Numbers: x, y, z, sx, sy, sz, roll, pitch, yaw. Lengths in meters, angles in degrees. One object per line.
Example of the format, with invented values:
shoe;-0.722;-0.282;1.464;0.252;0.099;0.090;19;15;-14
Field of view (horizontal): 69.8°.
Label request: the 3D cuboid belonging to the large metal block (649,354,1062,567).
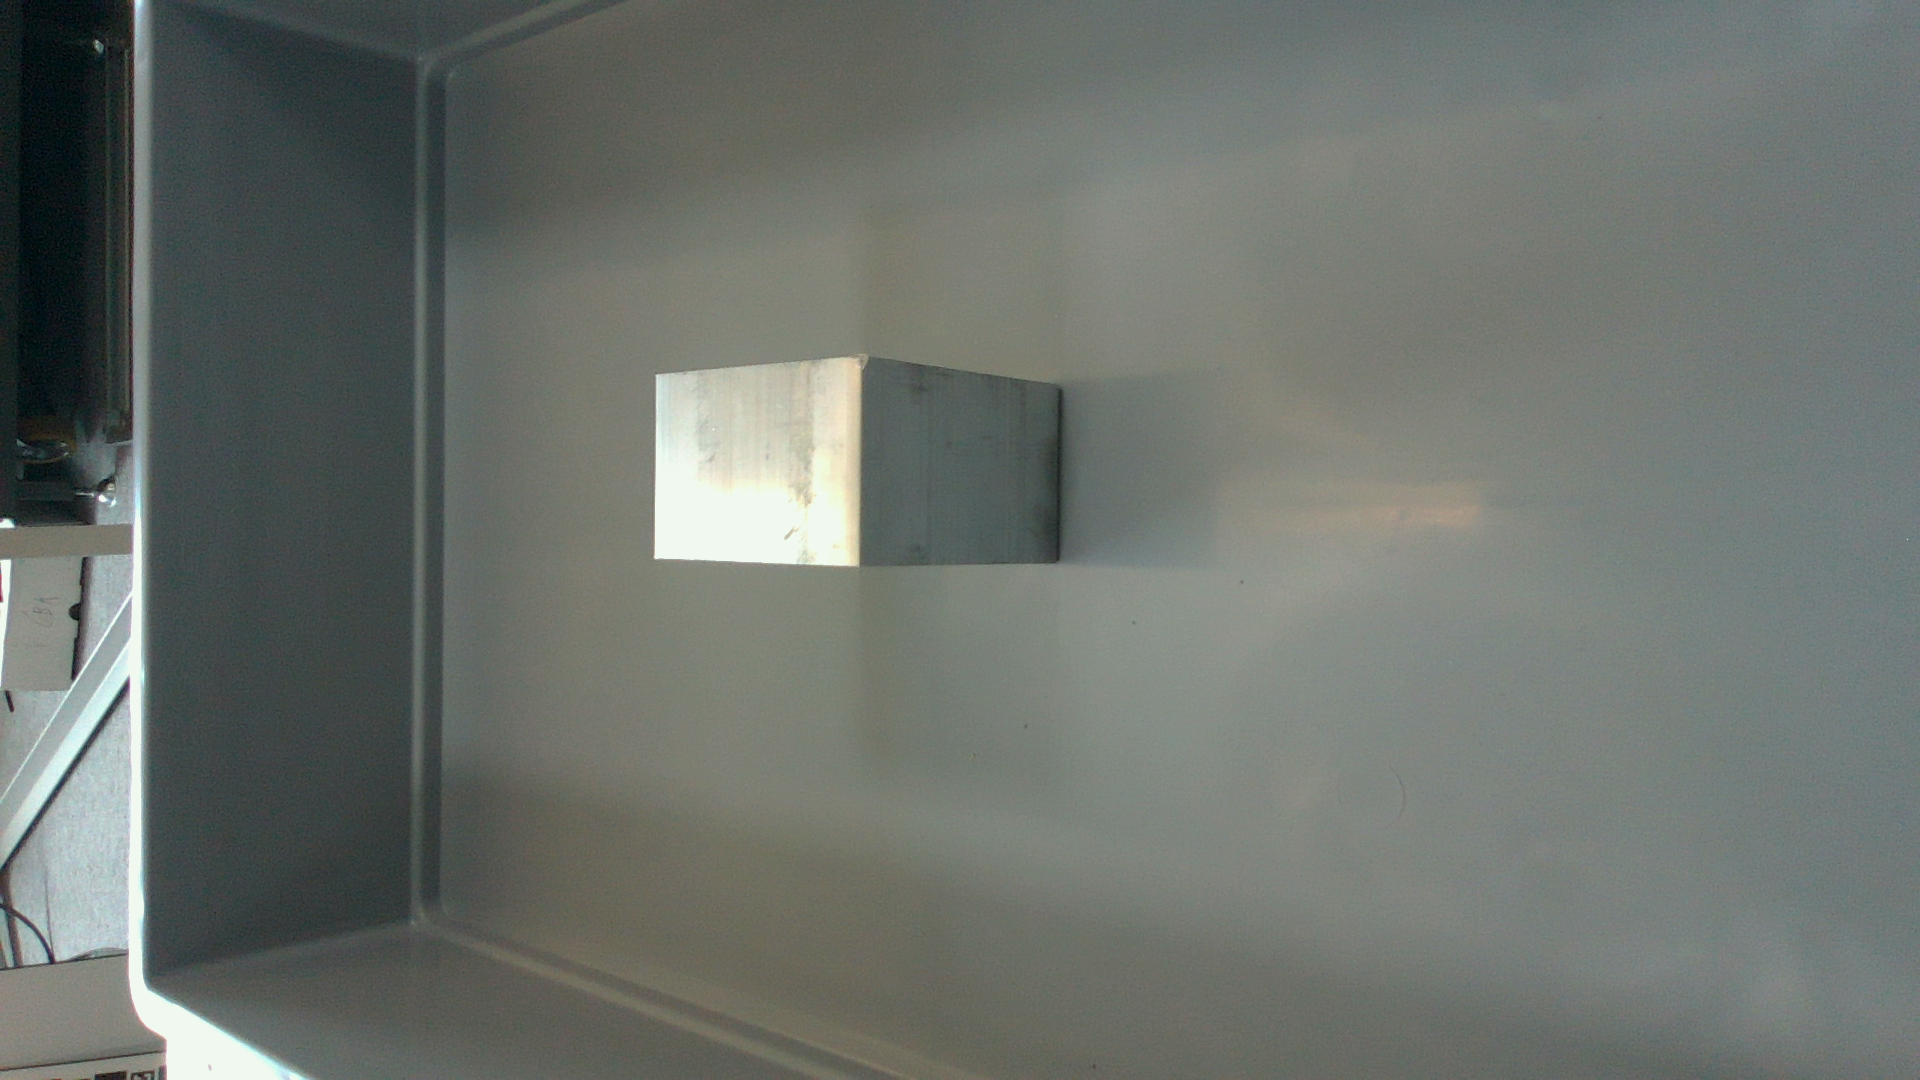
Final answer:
large metal block;-0.028;-0.020;0.380;0.080;0.080;0.050;1;91;40
